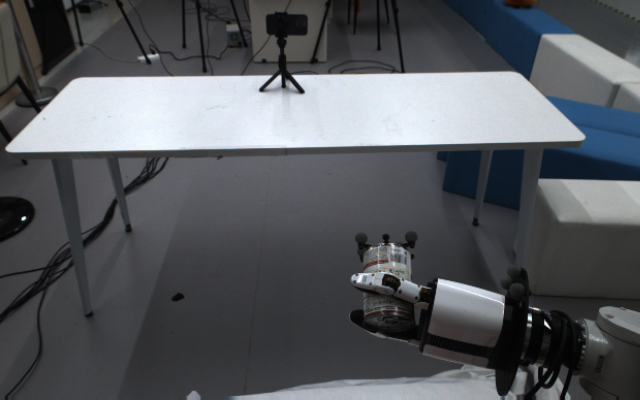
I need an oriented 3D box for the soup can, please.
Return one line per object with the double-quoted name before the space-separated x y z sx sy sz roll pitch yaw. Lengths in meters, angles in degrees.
"soup can" 0.092 0.117 0.647 0.067 0.067 0.101 3 57 1
